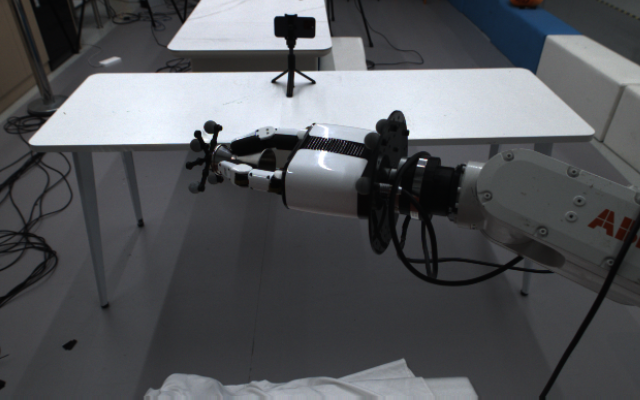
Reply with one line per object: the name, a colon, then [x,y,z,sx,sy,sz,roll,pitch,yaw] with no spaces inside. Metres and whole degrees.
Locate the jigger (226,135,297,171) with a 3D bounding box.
jigger: [-0.089,-0.048,0.599,0.071,0.043,0.043,10,35,22]
